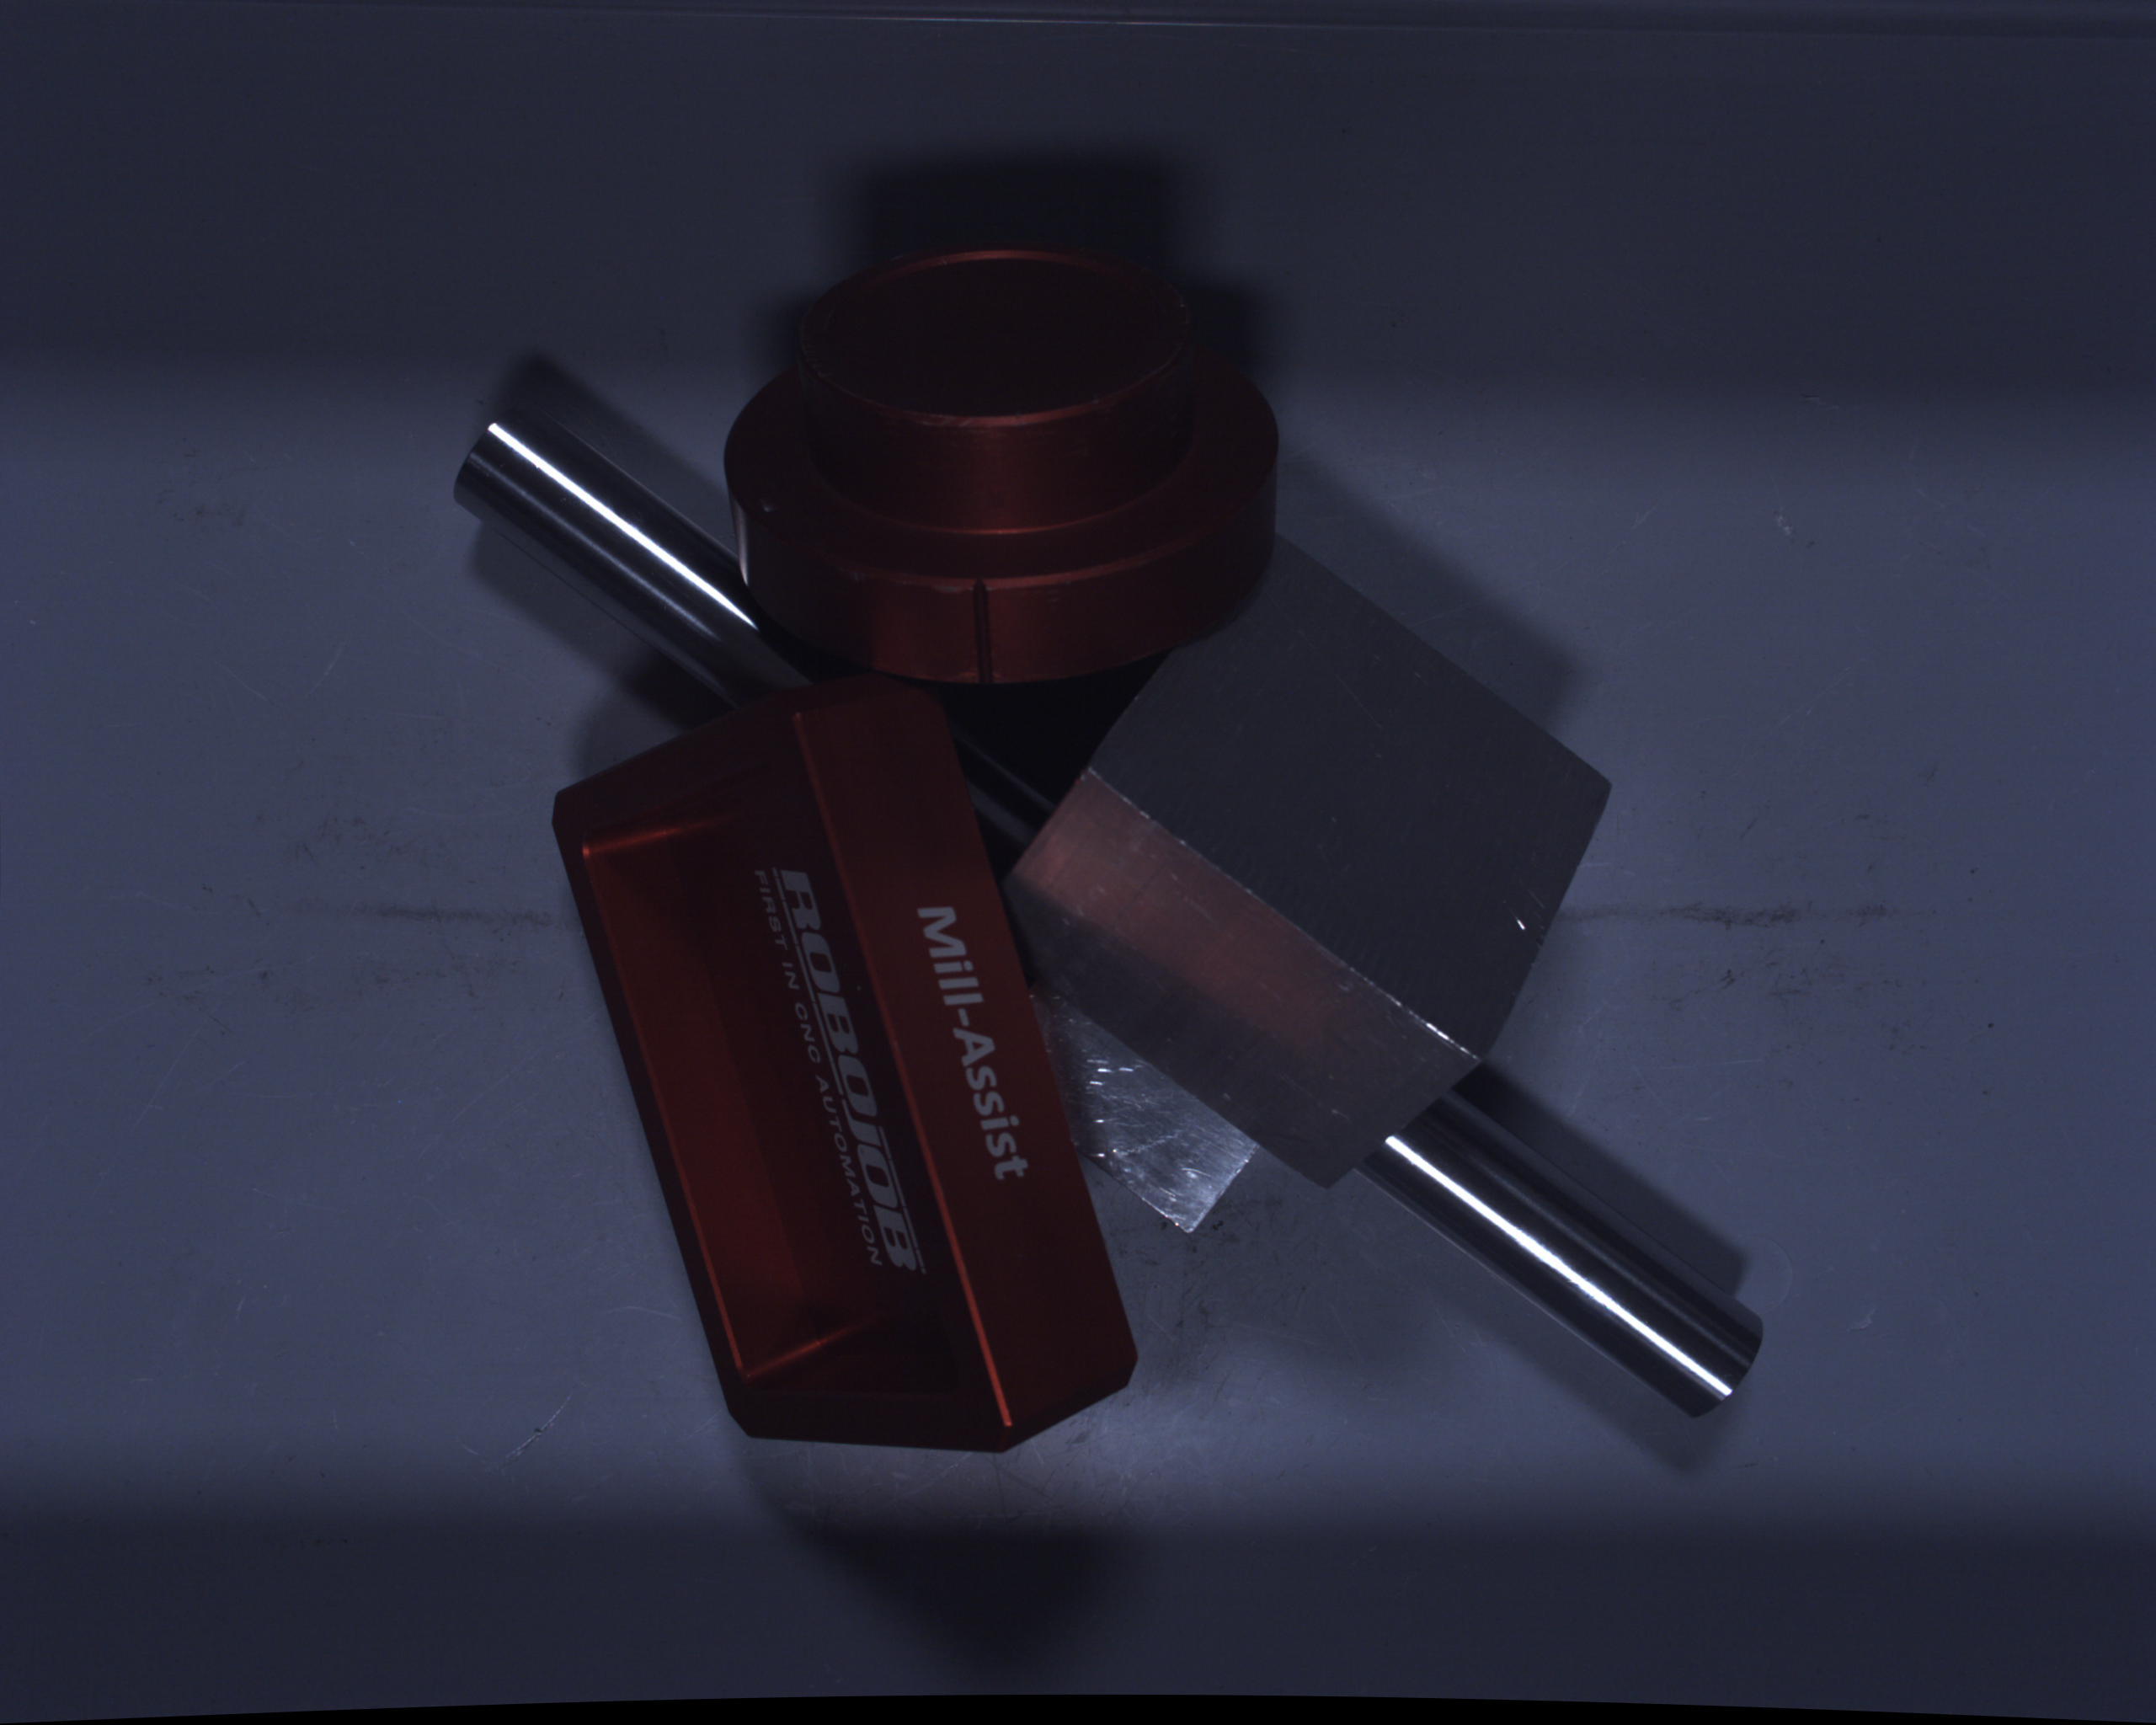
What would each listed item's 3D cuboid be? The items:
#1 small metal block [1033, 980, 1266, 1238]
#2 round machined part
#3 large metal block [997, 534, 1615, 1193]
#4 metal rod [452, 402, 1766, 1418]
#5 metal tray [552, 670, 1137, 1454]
[{"bbox_3d":[0.008,0.042,0.397,0.050,0.050,0.025,38,90,-1],"label":"small metal block"},{"bbox_3d":[-0.013,-0.077,0.371,0.099,0.098,0.042,-2,131,-1],"label":"round machined part"},{"bbox_3d":[0.040,-0.002,0.378,0.080,0.050,0.080,37,47,0],"label":"large metal block"},{"bbox_3d":[0.007,0.010,0.410,0.301,0.025,0.025,37,90,-1],"label":"metal rod"},{"bbox_3d":[-0.046,0.038,0.378,0.030,0.090,0.129,-17,90,-41],"label":"metal tray"}]
